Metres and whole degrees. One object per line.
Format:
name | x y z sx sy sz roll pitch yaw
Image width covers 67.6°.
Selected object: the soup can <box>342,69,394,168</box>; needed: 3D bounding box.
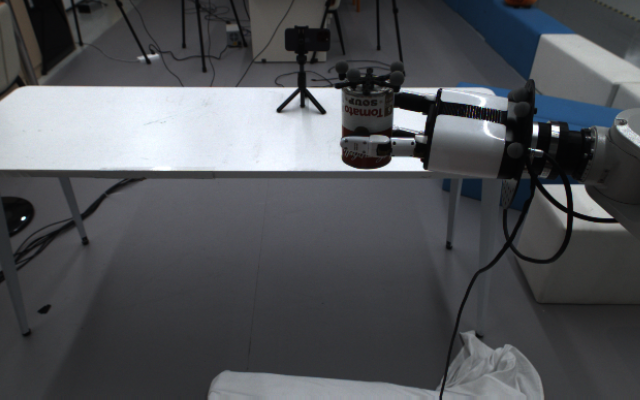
soup can | 0.062 -0.102 0.628 0.067 0.101 0.067 -2 34 1
